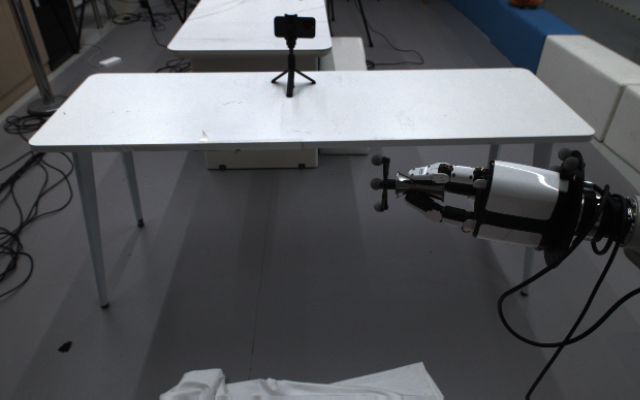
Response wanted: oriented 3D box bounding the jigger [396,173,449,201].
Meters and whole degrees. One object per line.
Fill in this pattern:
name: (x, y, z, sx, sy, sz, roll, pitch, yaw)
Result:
jigger: (0.152, -0.025, 0.702, 0.071, 0.043, 0.043, 3, 34, 14)
